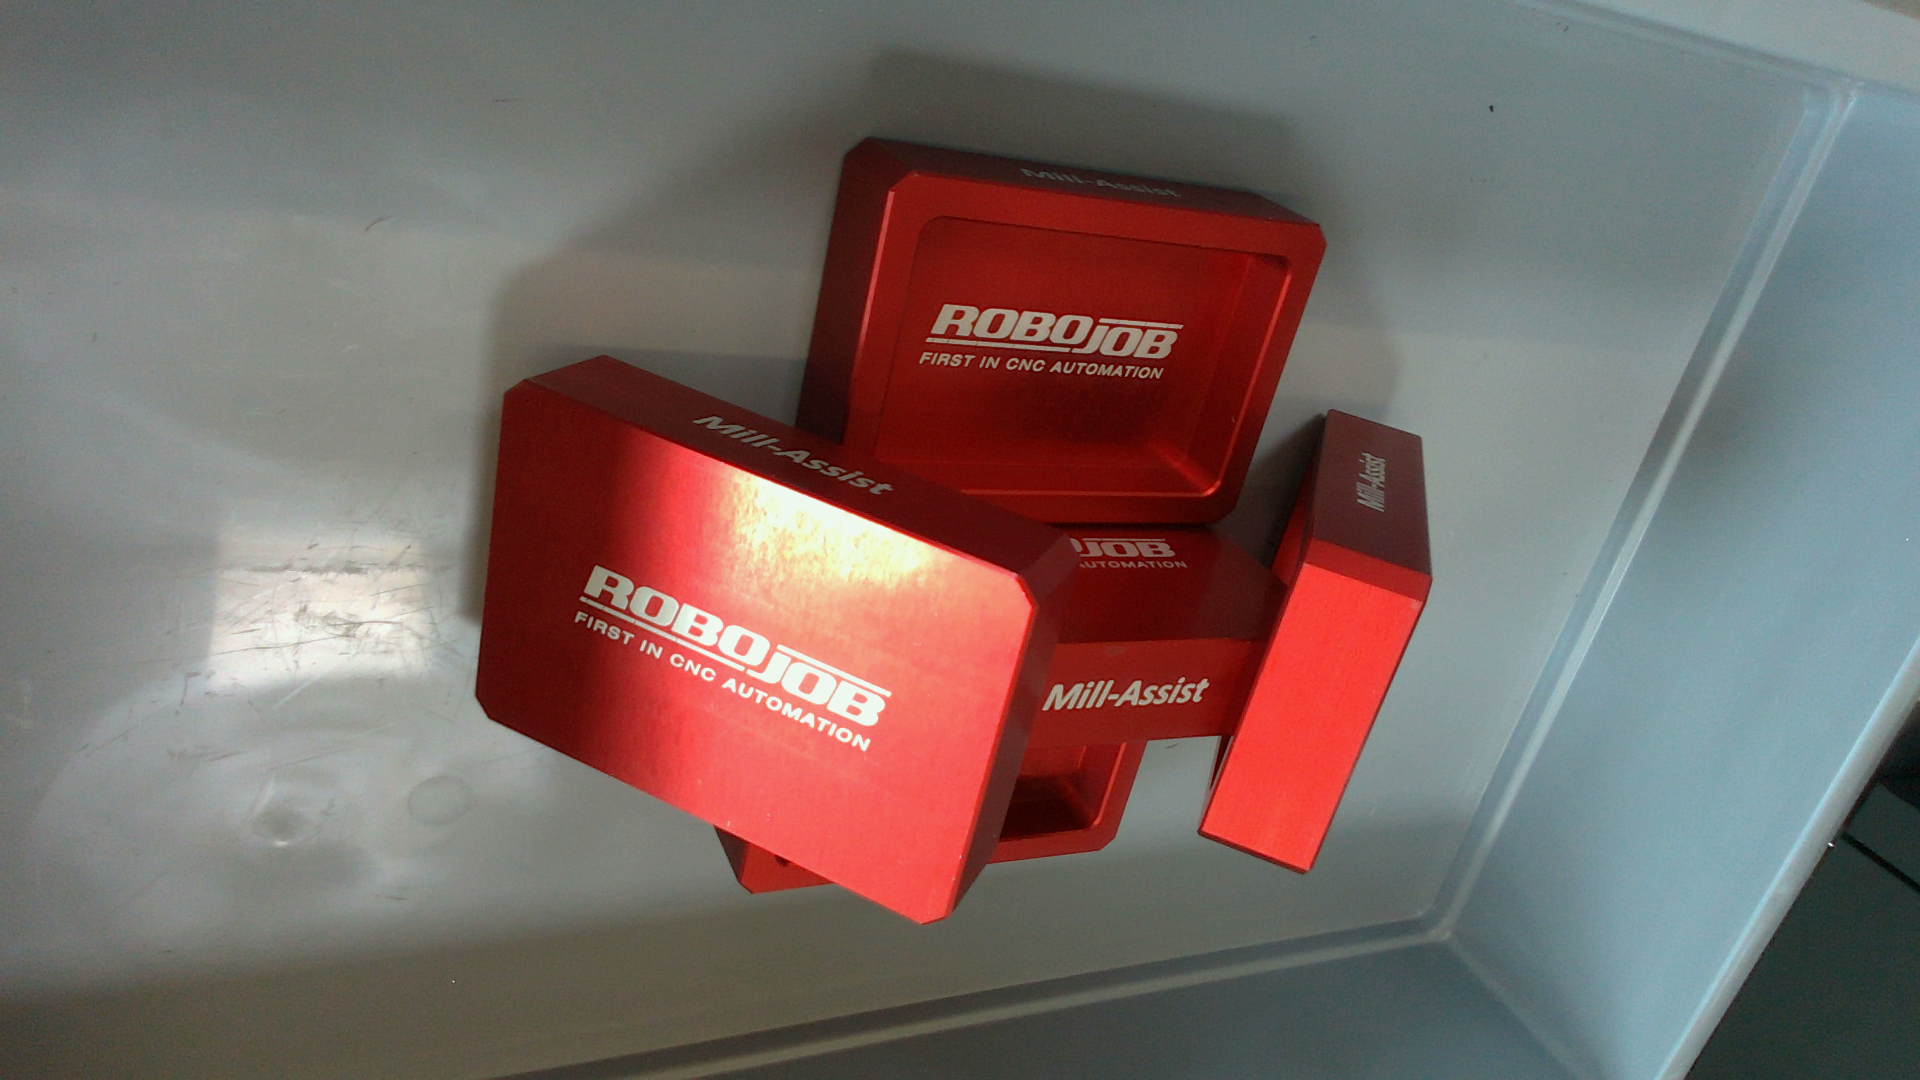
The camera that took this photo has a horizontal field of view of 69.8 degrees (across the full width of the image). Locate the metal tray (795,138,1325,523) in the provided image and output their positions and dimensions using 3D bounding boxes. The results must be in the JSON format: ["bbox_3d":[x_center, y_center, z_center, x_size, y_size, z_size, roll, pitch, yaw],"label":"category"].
[{"bbox_3d":[0.026,-0.051,0.367,0.130,0.030,0.090,-1,119,-29],"label":"metal tray"}]

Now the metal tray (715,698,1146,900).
[{"bbox_3d":[-0.003,0.057,0.415,0.130,0.030,0.090,0,118,-29],"label":"metal tray"}]

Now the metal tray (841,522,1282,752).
[{"bbox_3d":[0.022,0.017,0.368,0.130,0.090,0.030,0,118,-29],"label":"metal tray"}]

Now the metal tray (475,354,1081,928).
[{"bbox_3d":[-0.047,0.021,0.316,0.030,0.130,0.090,-40,148,-61],"label":"metal tray"}]

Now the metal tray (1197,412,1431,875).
[{"bbox_3d":[0.104,0.023,0.399,0.030,0.130,0.090,19,115,10],"label":"metal tray"}]
